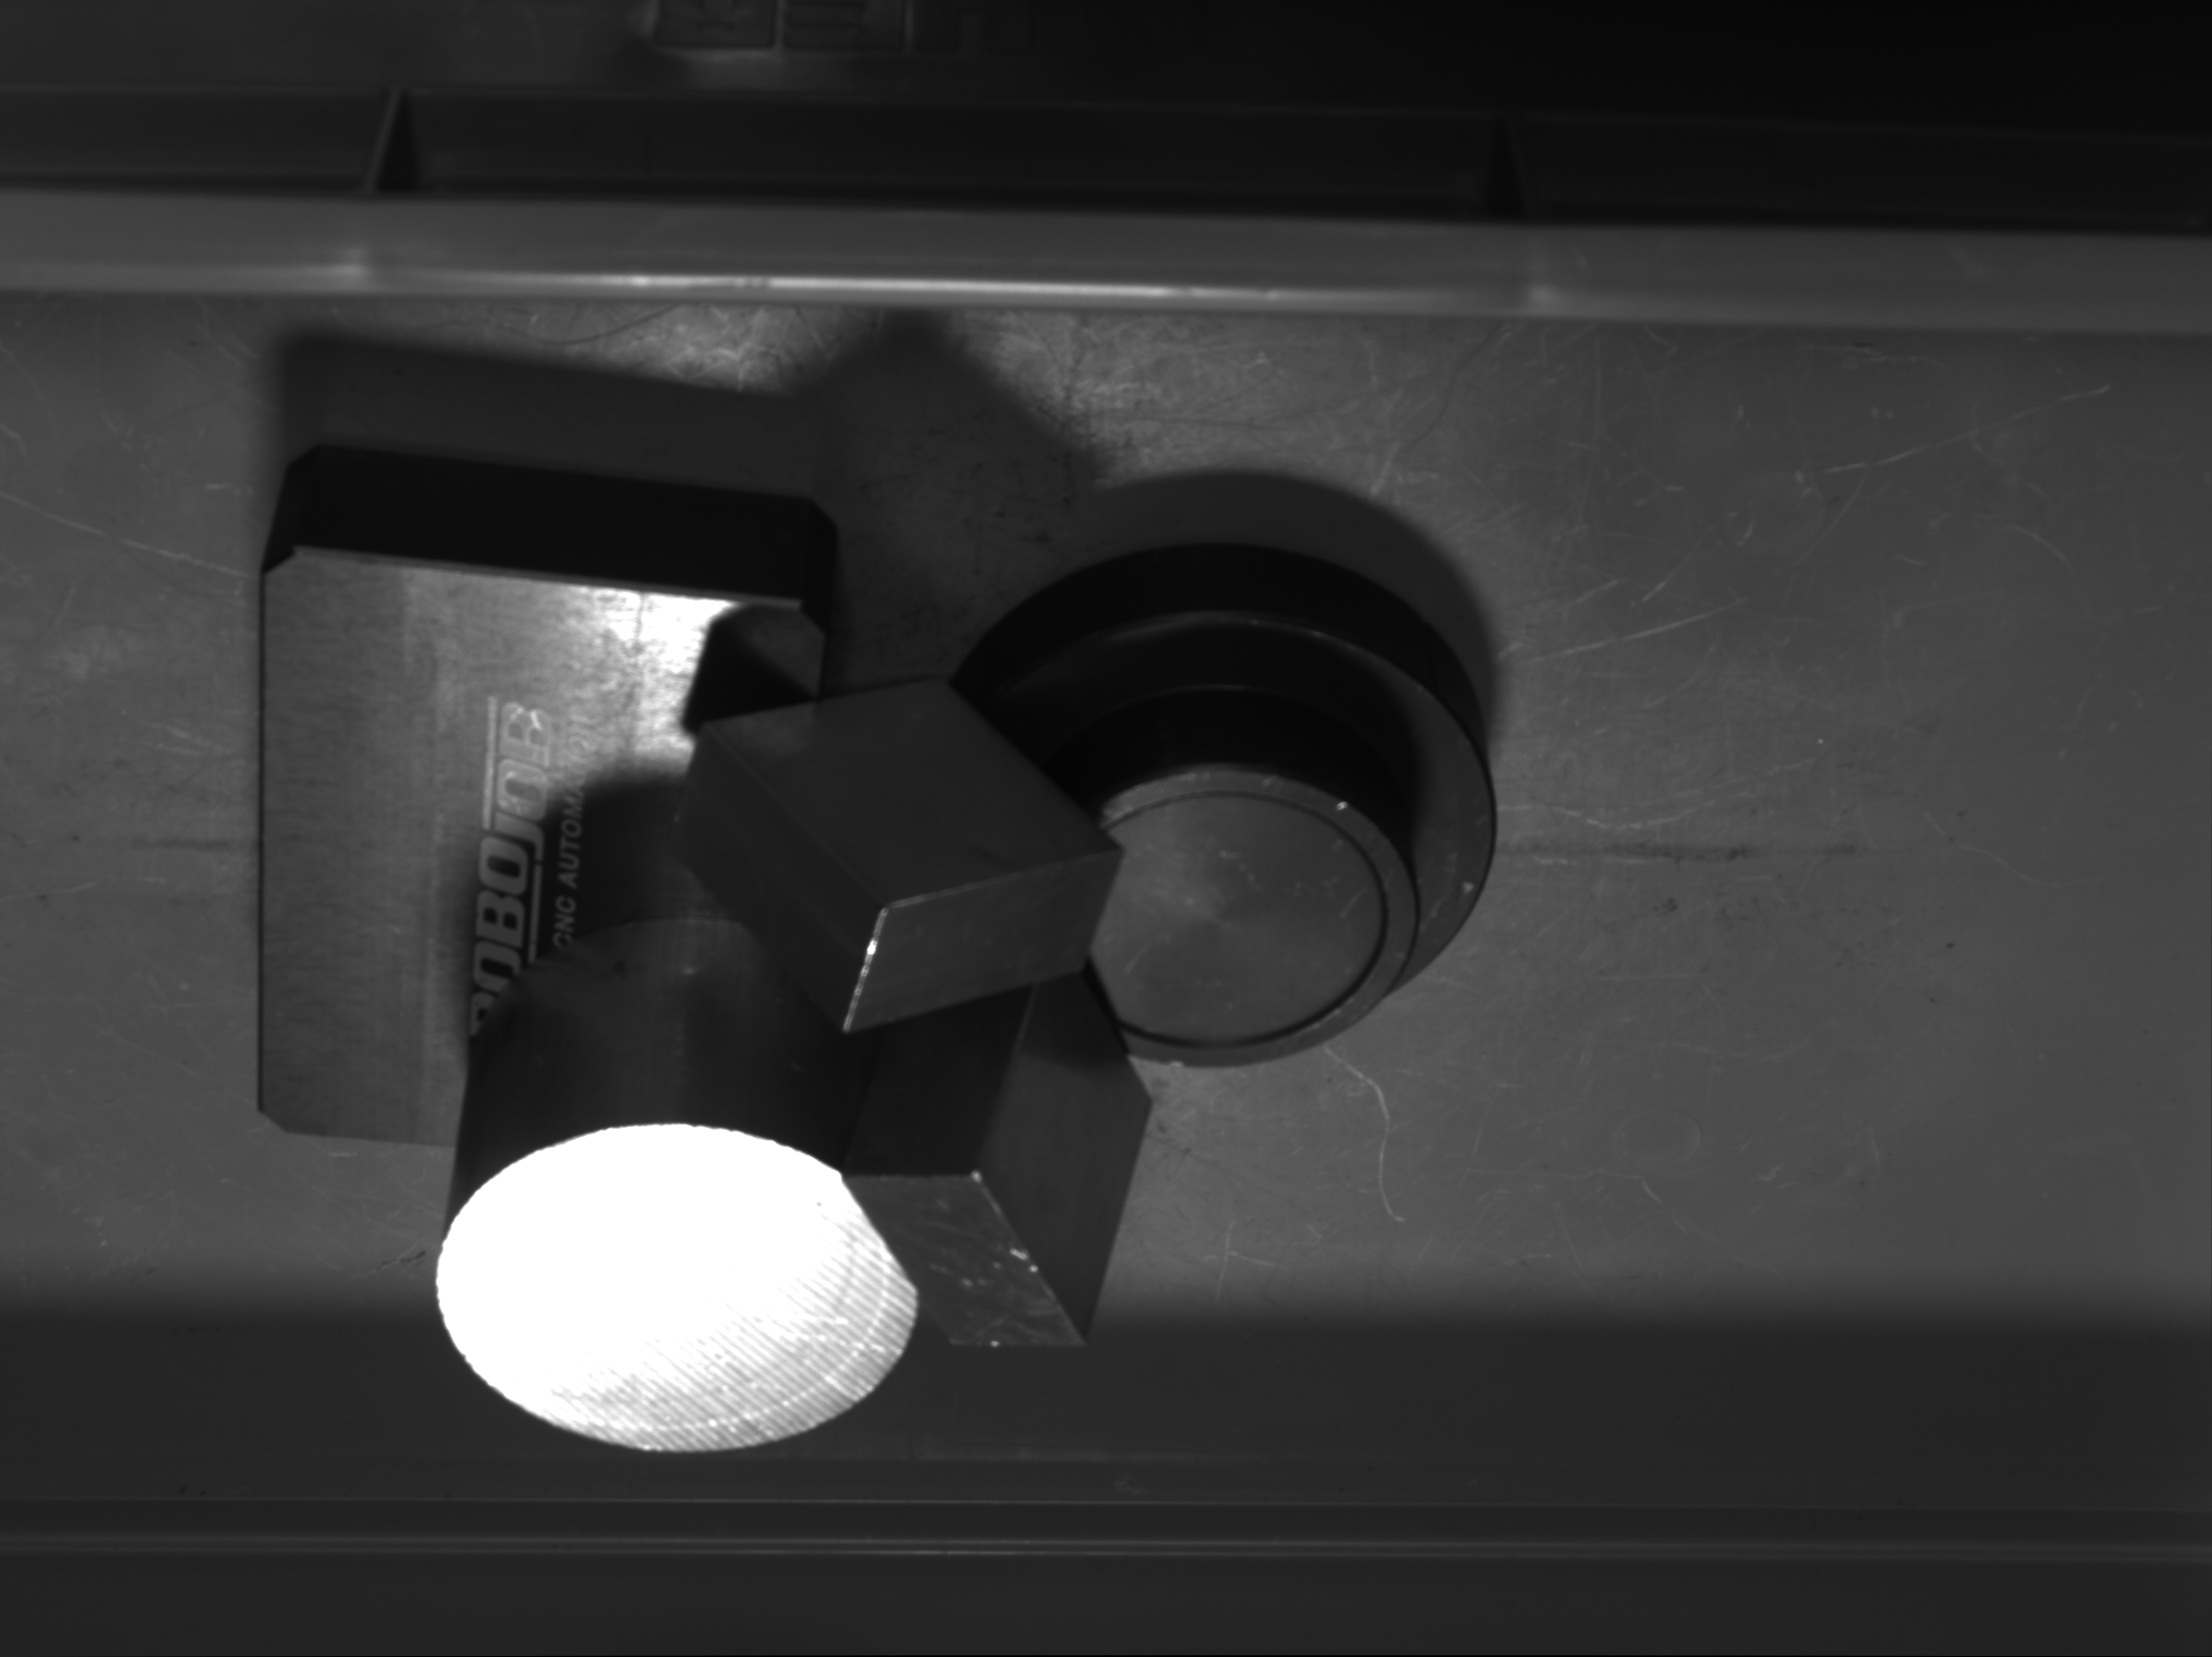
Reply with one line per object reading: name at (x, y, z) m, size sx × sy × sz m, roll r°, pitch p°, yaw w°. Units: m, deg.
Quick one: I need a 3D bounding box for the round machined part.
round machined part at (0.018, 0.003, 0.628) m, size 0.098 × 0.042 × 0.098 m, roll -1°, pitch 130°, yaw -1°

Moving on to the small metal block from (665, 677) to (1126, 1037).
small metal block at (-0.034, 0.004, 0.589) m, size 0.050 × 0.050 × 0.025 m, roll -13°, pitch 135°, yaw -41°

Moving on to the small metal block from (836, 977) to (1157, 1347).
small metal block at (-0.017, 0.052, 0.612) m, size 0.025 × 0.050 × 0.050 m, roll -2°, pitch 139°, yaw 25°

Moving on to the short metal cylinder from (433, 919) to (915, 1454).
short metal cylinder at (-0.073, 0.062, 0.631) m, size 0.080 × 0.050 × 0.080 m, roll -1°, pitch 130°, yaw -1°

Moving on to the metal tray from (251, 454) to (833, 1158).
metal tray at (-0.099, 0.002, 0.629) m, size 0.090 × 0.030 × 0.130 m, roll 6°, pitch 129°, yaw -7°
